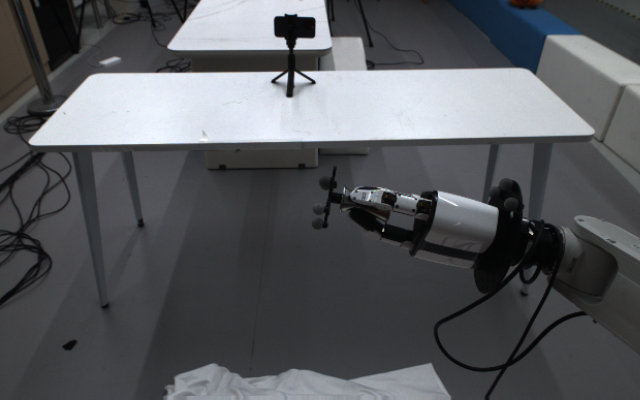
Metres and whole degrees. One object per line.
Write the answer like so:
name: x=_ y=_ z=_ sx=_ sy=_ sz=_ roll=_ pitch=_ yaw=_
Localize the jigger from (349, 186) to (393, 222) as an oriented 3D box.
jigger: x=0.071 y=0.000 z=0.673 sx=0.071 sy=0.043 sz=0.043 roll=11 pitch=35 yaw=3
